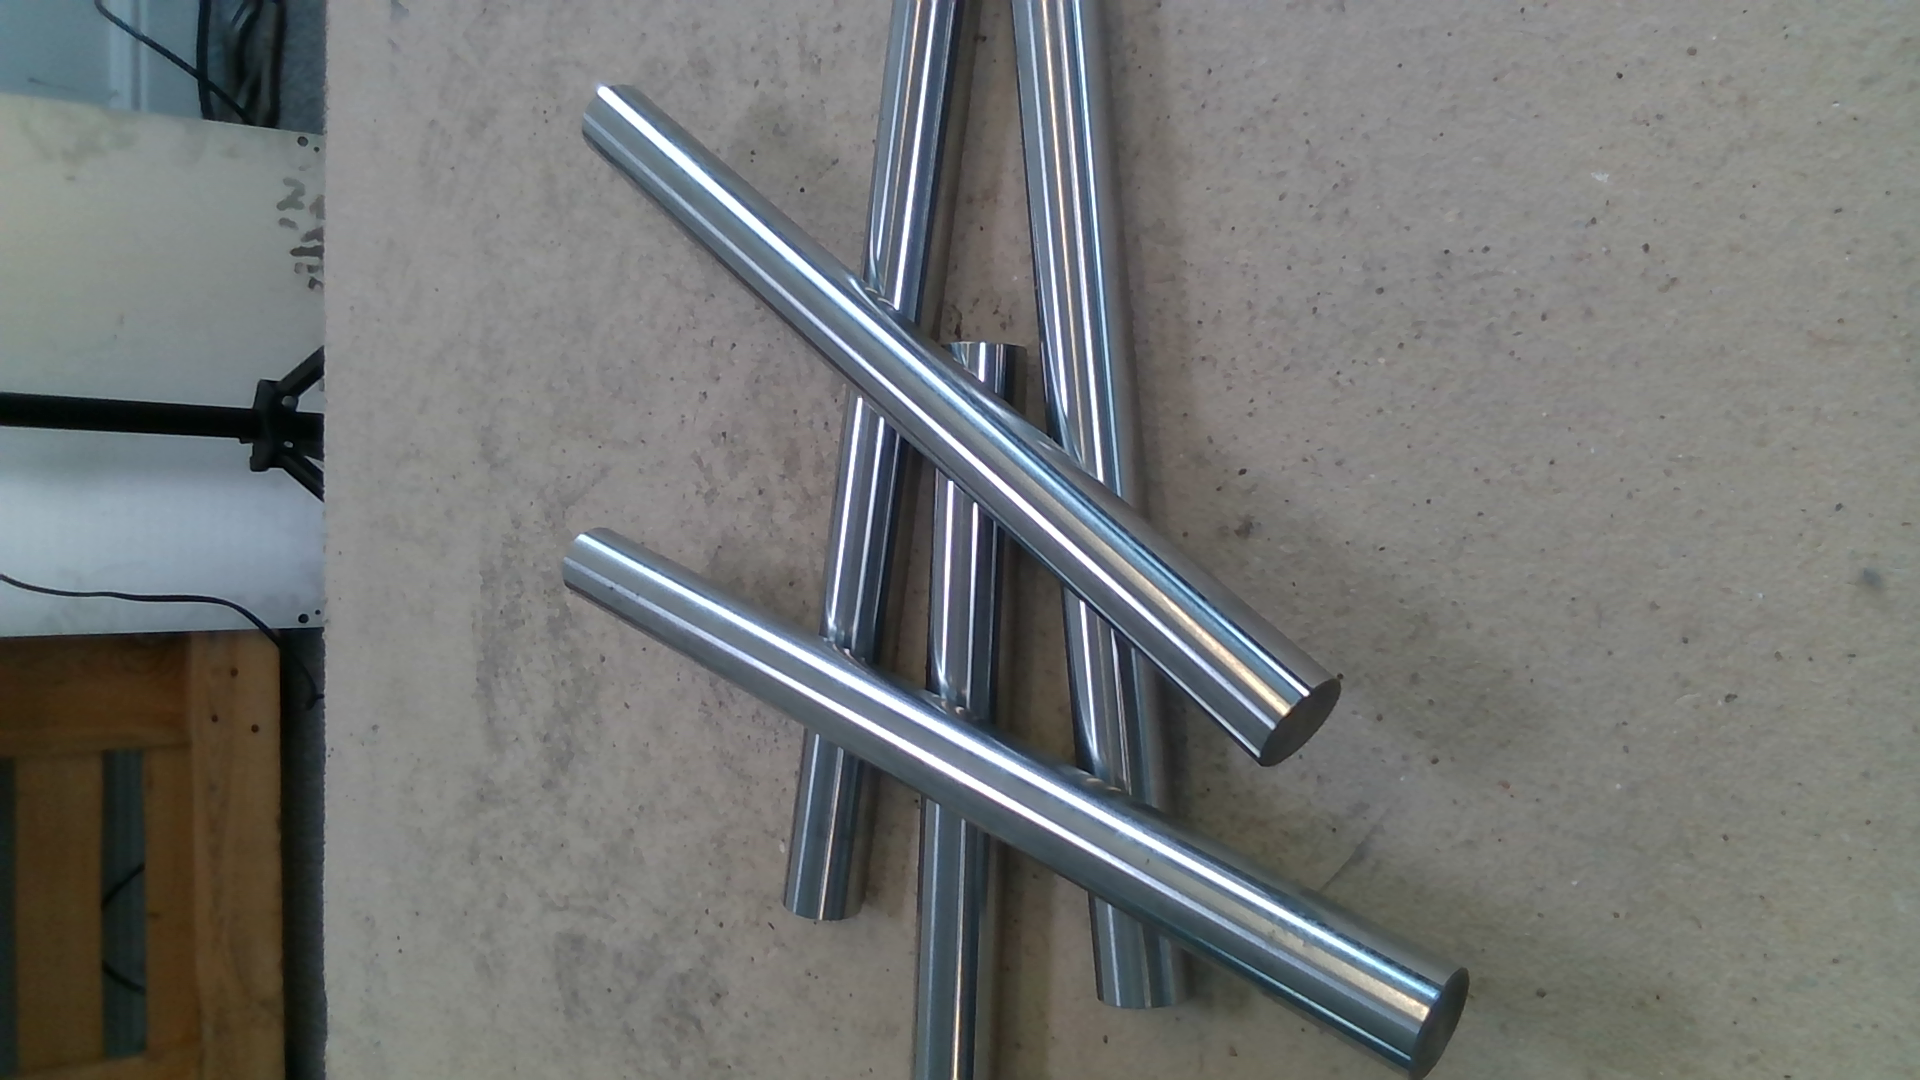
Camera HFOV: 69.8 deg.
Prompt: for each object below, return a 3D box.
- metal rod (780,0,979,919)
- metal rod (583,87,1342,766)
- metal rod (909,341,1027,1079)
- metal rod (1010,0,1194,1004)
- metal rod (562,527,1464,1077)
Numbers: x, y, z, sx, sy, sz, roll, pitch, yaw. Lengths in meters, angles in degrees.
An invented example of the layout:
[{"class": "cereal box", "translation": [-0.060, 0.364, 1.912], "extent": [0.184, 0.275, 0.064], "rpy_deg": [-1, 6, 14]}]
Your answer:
[{"class": "metal rod", "translation": [-0.023, -0.035, 0.410], "extent": [0.025, 0.025, 0.300], "rpy_deg": [14, 99, 39]}, {"class": "metal rod", "translation": [-0.019, -0.049, 0.374], "extent": [0.299, 0.025, 0.025], "rpy_deg": [43, 117, 31]}, {"class": "metal rod", "translation": [0.000, 0.095, 0.392], "extent": [0.025, 0.025, 0.300], "rpy_deg": [4, 93, 40]}, {"class": "metal rod", "translation": [0.035, -0.034, 0.361], "extent": [0.025, 0.025, 0.300], "rpy_deg": [-8, 85, 40]}, {"class": "metal rod", "translation": [-0.013, 0.052, 0.370], "extent": [0.300, 0.025, 0.025], "rpy_deg": [22, 104, 38]}]
